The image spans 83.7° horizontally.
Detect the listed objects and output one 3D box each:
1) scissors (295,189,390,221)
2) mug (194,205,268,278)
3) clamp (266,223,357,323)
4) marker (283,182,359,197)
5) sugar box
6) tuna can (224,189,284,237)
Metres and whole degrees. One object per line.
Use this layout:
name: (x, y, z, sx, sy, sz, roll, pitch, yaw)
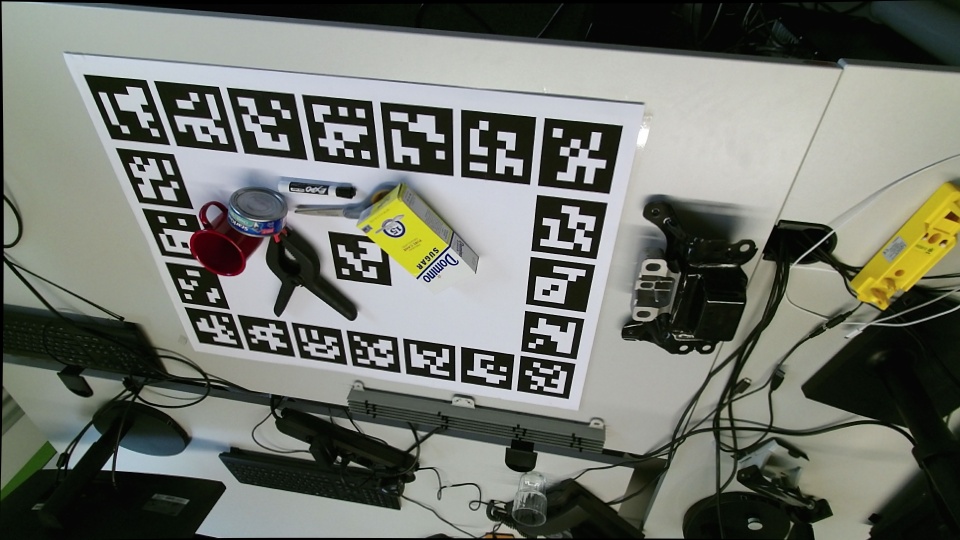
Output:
scissors: (-0.203, -0.084, 0.851, 0.203, 0.016, 0.088, -1, 128, 15)
mug: (-0.413, -0.057, 0.884, 0.093, 0.081, 0.117, -17, 123, 23)
clamp: (-0.320, 0.011, 0.949, 0.166, 0.036, 0.203, -2, 124, 14)
marker: (-0.247, -0.125, 0.835, 0.121, 0.019, 0.019, 4, 125, 9)
sugar box: (-0.101, -0.045, 0.838, 0.093, 0.045, 0.177, -26, 122, 27)
tuna can: (-0.354, -0.090, 0.841, 0.086, 0.085, 0.034, 21, 127, -3)
